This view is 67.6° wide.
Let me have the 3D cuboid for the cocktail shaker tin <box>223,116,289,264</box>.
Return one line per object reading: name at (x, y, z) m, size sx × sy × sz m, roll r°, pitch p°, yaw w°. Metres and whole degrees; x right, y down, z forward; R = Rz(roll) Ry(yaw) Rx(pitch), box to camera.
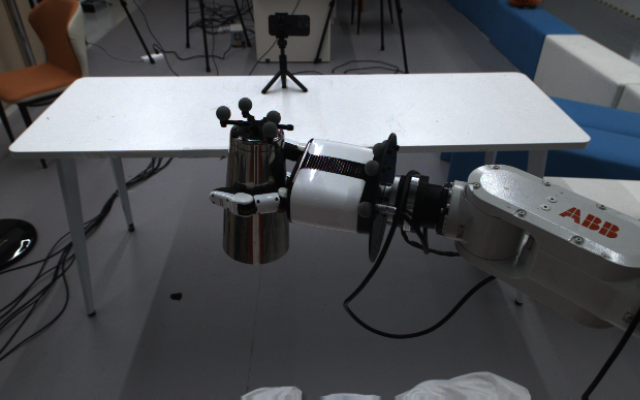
cocktail shaker tin at (-0.081, -0.012, 0.628) m, size 0.093 × 0.170 × 0.093 m, roll 3°, pitch 32°, yaw -2°
